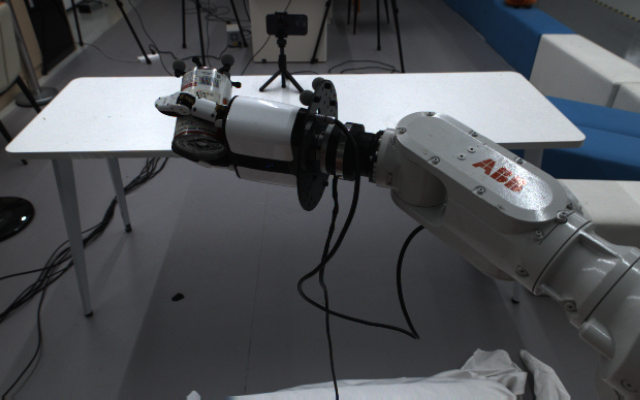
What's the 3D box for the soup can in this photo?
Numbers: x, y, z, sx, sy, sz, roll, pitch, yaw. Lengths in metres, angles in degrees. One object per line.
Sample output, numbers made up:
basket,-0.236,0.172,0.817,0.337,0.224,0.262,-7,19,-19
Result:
soup can,-0.151,-0.111,0.627,0.067,0.067,0.101,1,68,-1
